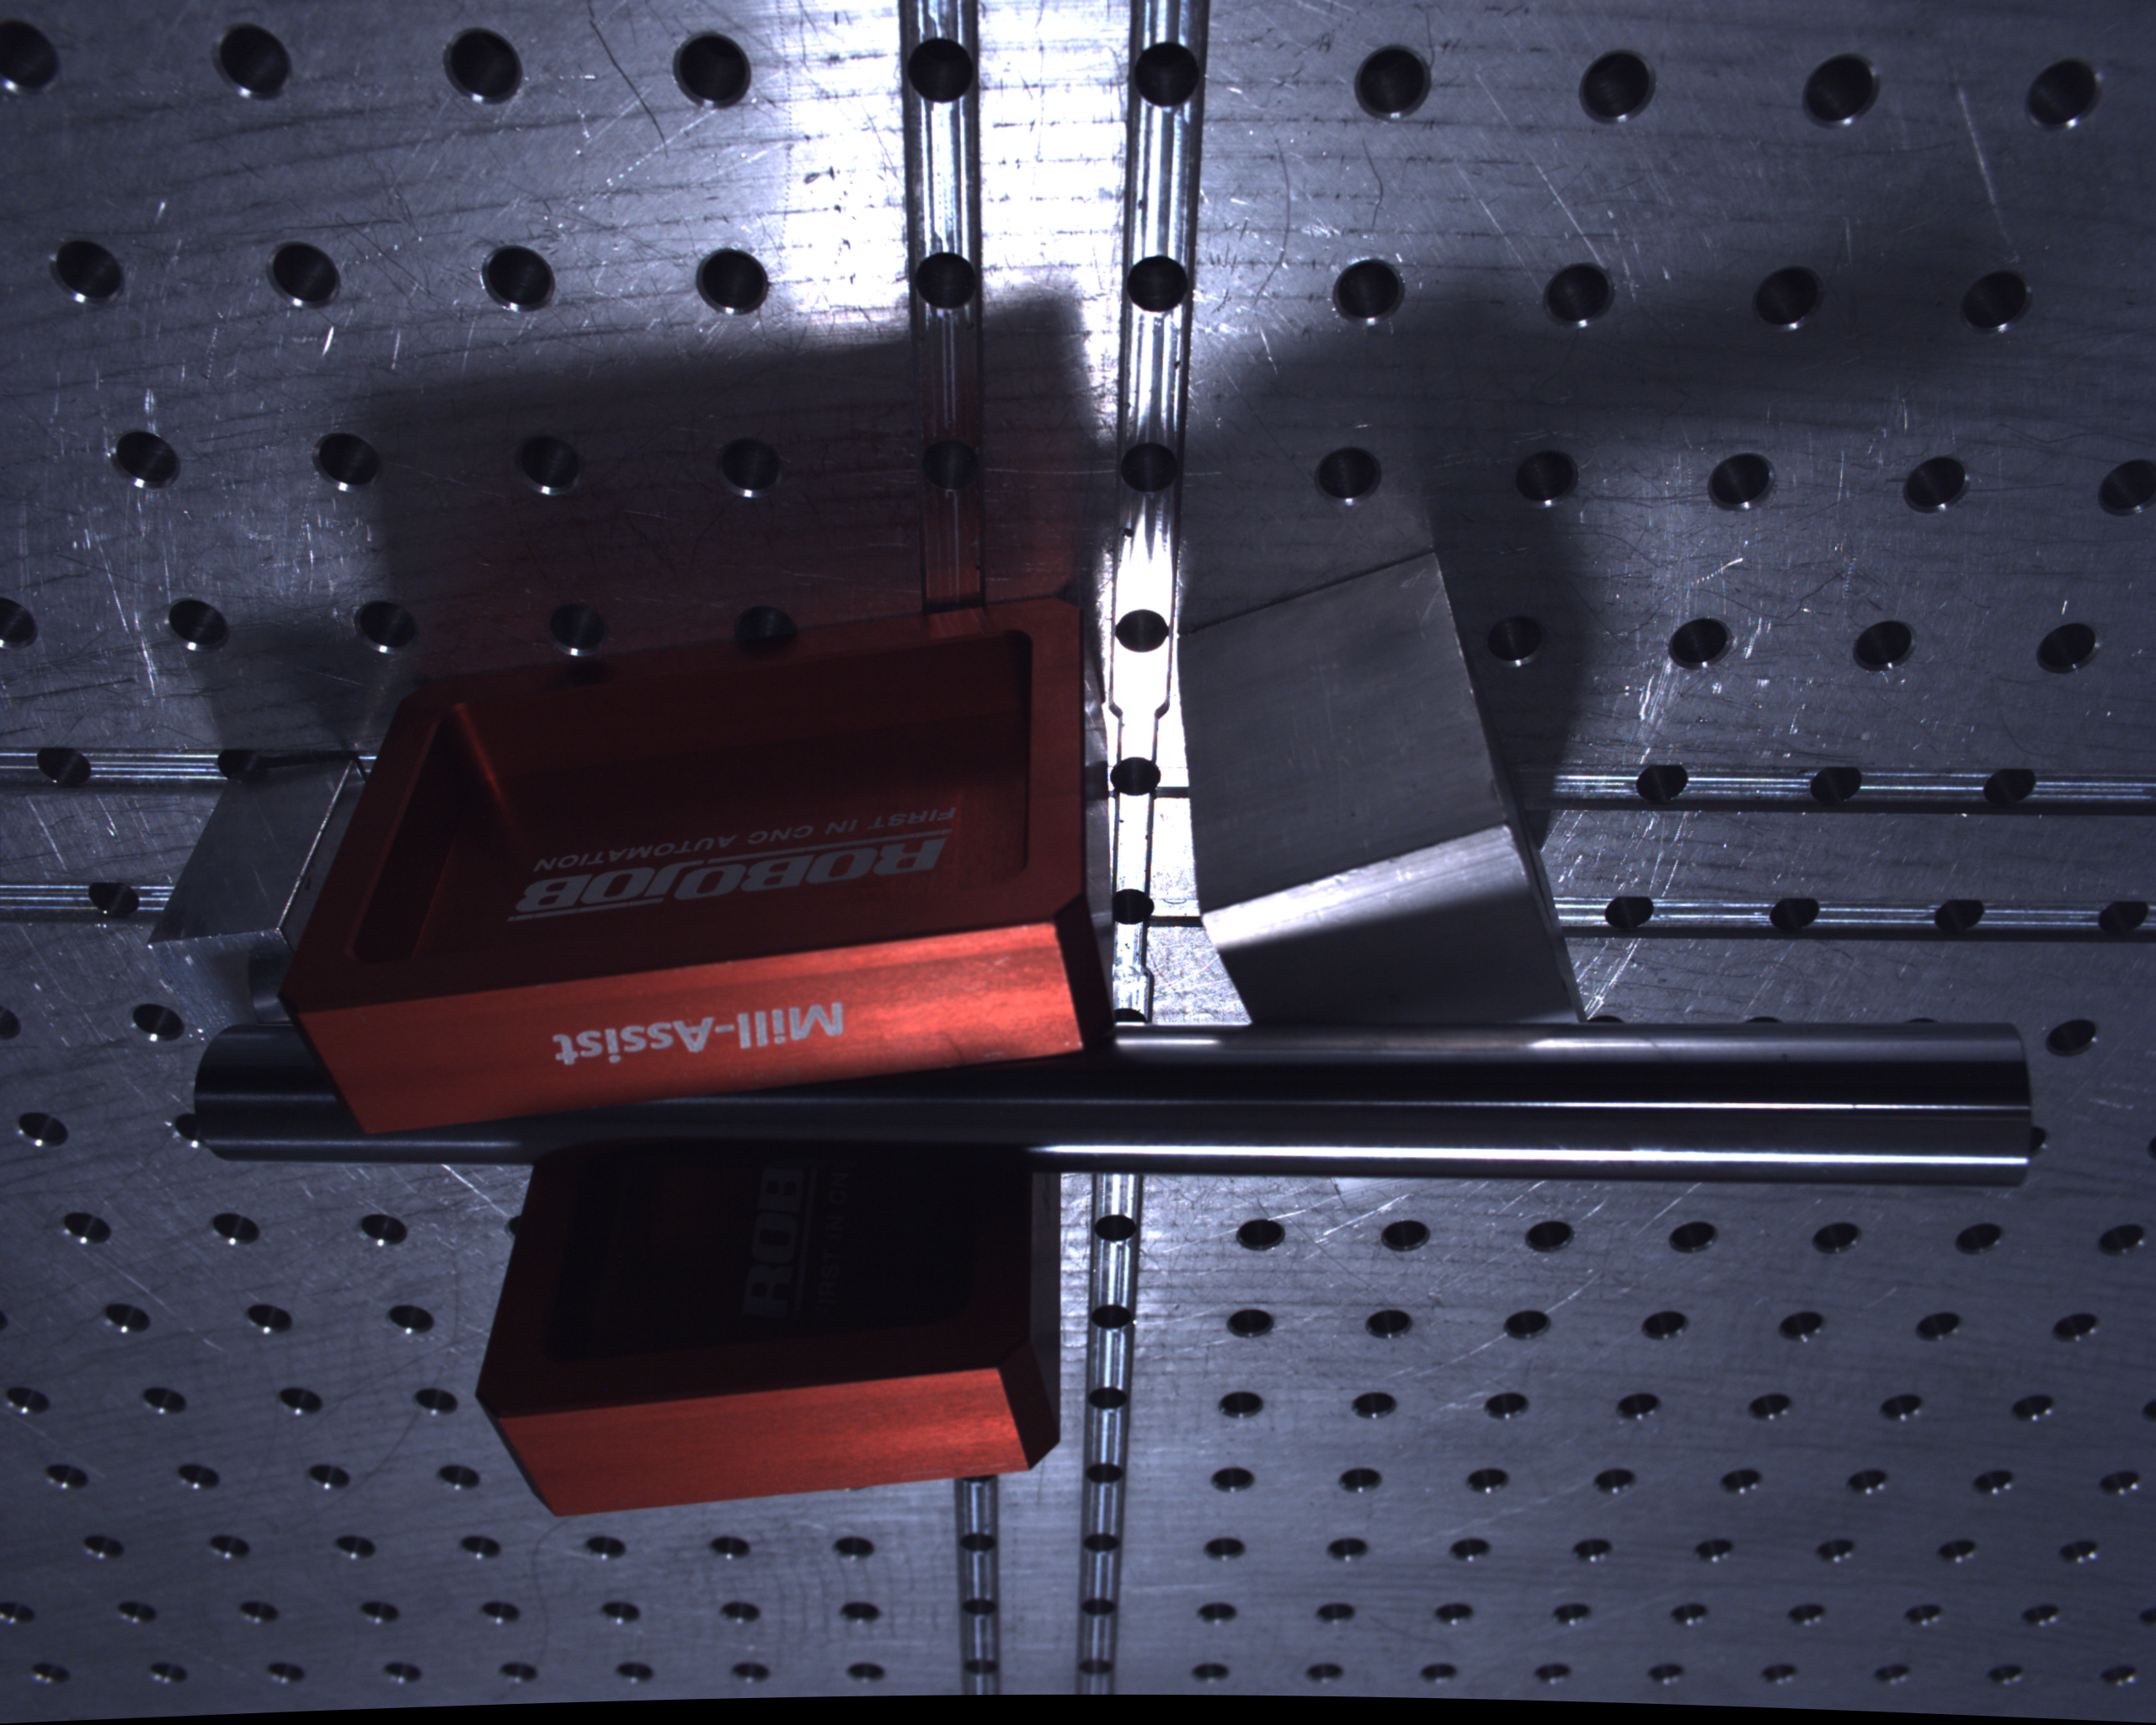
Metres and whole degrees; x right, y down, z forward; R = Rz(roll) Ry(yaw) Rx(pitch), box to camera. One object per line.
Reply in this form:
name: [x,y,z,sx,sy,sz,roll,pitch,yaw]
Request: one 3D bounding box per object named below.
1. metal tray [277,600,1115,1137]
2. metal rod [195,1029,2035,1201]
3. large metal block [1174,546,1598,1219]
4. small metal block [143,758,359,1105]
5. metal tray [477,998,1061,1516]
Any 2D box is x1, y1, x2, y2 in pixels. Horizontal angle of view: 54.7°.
metal tray: [-0.061,-0.001,0.366,0.131,0.090,0.030,-7,131,5]
metal rod: [-0.005,0.041,0.347,0.301,0.025,0.025,-1,131,12]
large metal block: [0.057,0.003,0.378,0.050,0.080,0.080,-18,128,14]
small metal block: [-0.151,0.016,0.406,0.025,0.050,0.050,-6,130,5]
metal tray: [-0.050,0.052,0.386,0.090,0.130,0.030,-7,130,5]
